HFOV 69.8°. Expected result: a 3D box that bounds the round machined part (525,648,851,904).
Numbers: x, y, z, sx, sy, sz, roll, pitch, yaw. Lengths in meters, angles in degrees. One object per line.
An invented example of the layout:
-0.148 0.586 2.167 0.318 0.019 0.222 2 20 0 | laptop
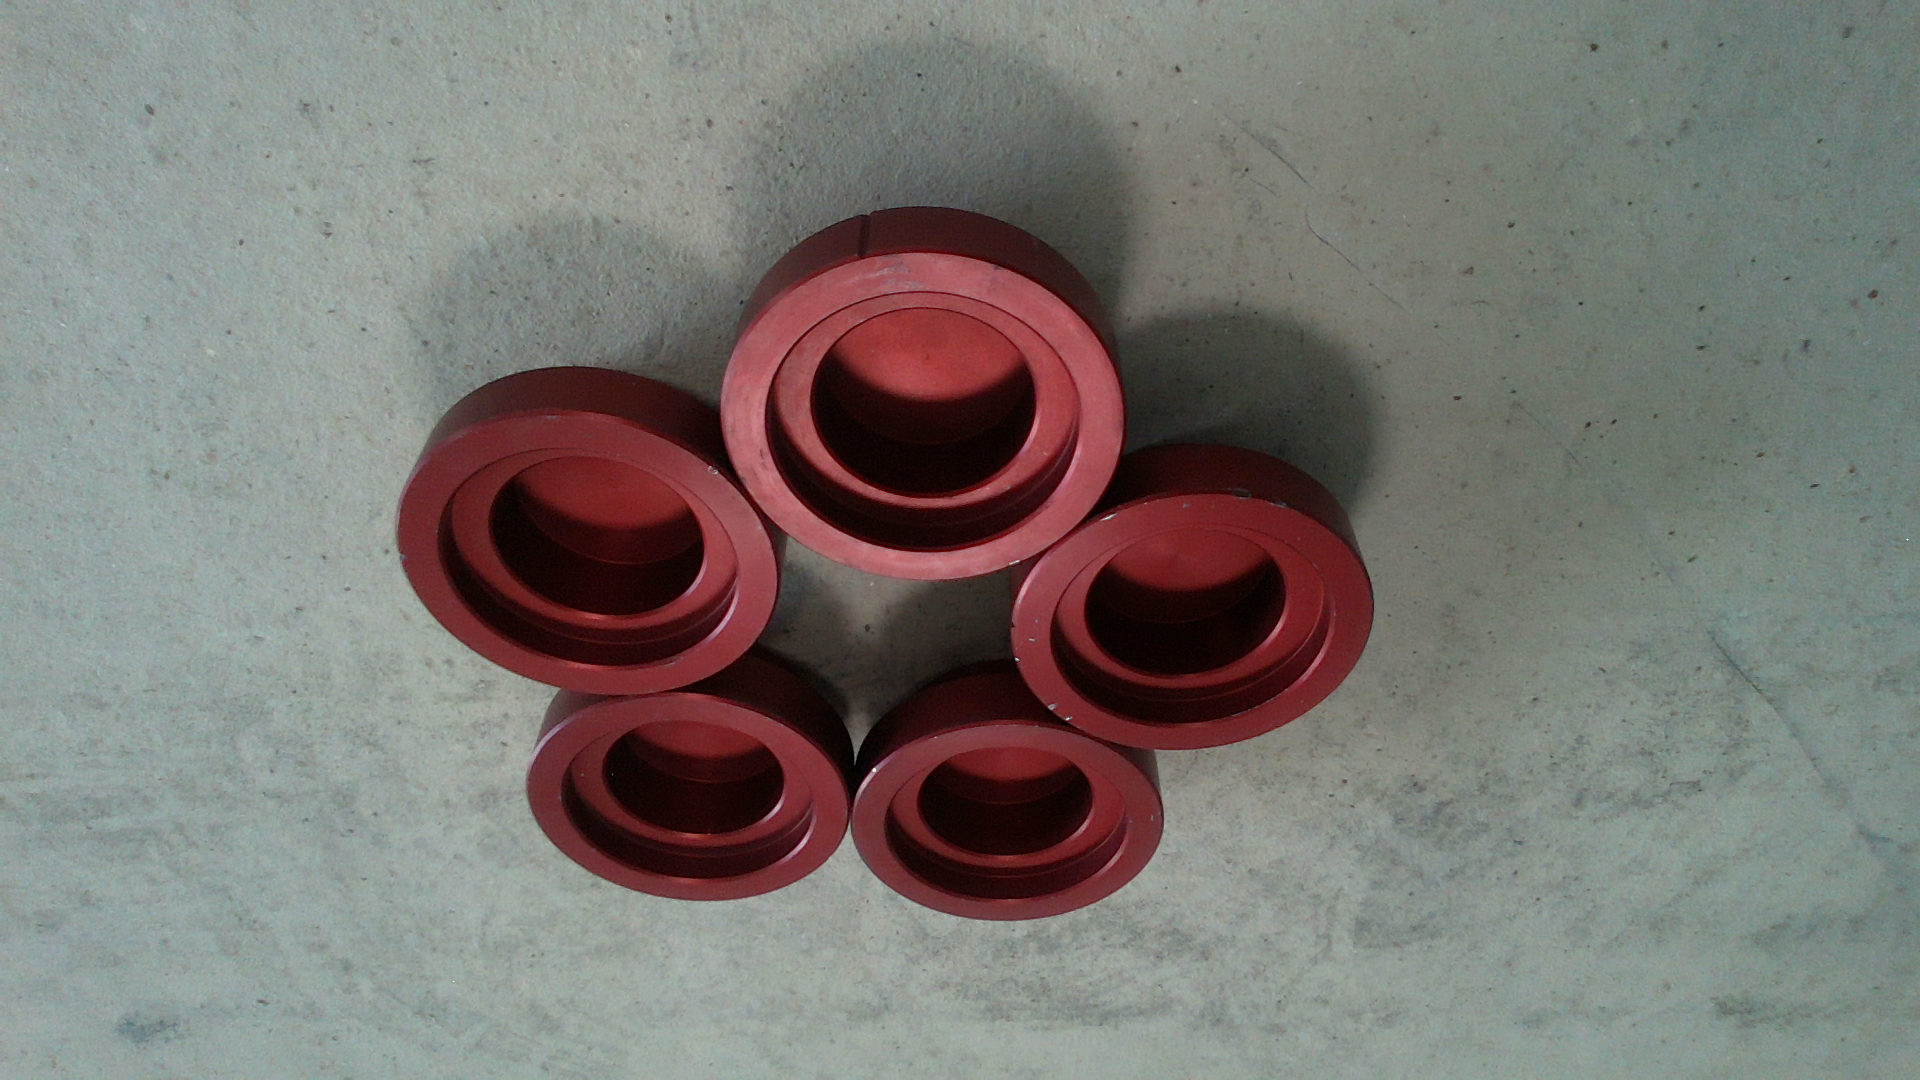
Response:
-0.083 0.068 0.436 0.098 0.042 0.098 -1 129 -1 | round machined part

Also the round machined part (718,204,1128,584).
-0.009 -0.039 0.345 0.098 0.042 0.098 -1 129 -1 | round machined part

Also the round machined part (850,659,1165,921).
0.015 0.077 0.445 0.098 0.042 0.098 -1 130 -1 | round machined part

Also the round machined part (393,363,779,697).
-0.097 -0.006 0.373 0.098 0.042 0.098 0 129 0 | round machined part

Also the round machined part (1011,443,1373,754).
0.062 0.012 0.389 0.098 0.042 0.098 -1 129 -1 | round machined part
